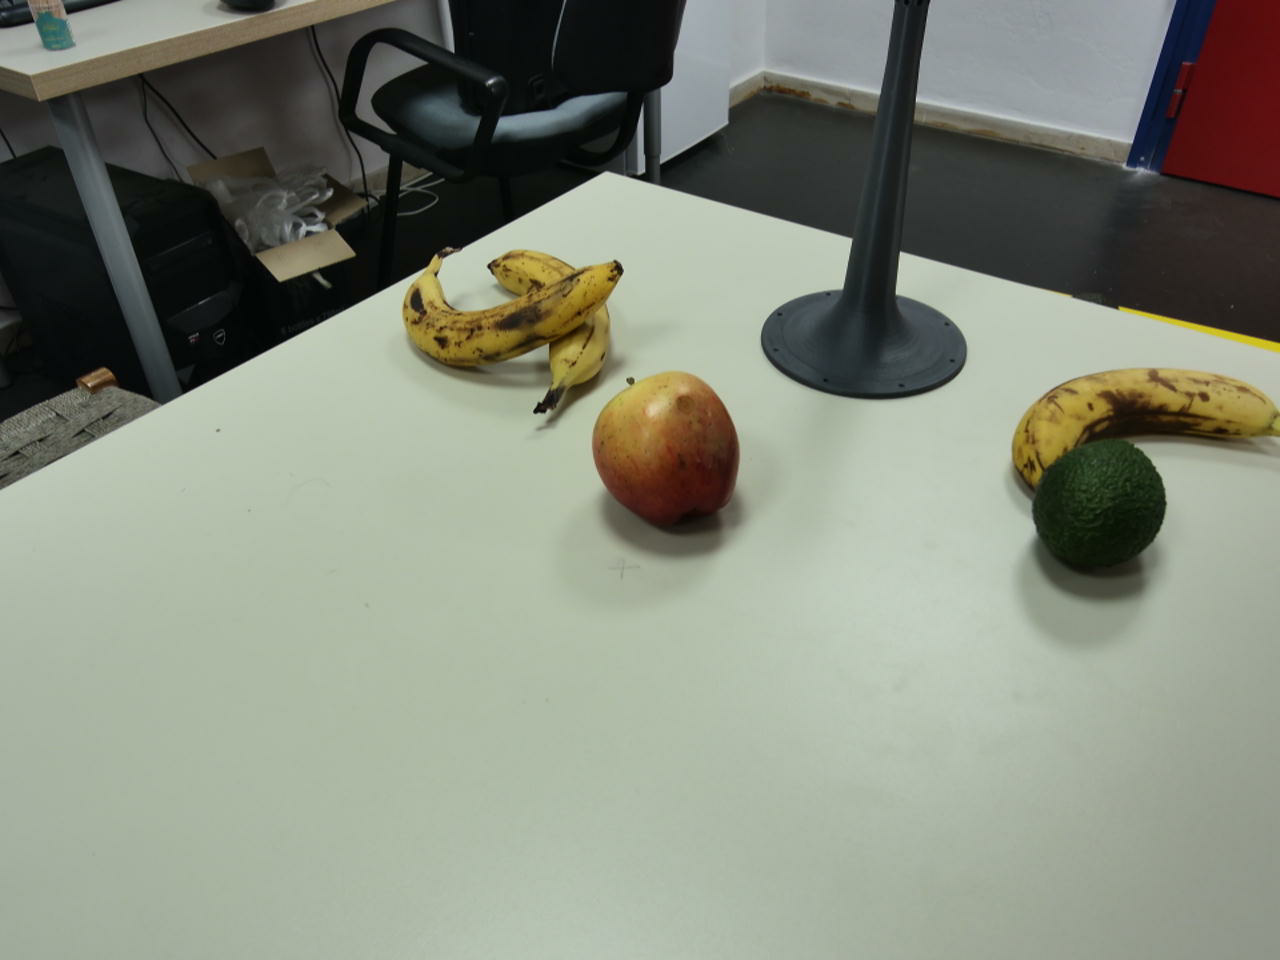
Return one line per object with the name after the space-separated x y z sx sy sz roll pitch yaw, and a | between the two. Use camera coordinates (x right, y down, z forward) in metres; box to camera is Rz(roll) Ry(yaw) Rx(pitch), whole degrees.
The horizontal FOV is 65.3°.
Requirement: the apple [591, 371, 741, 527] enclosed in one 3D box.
0.015 -0.020 0.586 0.086 0.084 0.093 1 37 1 | apple
